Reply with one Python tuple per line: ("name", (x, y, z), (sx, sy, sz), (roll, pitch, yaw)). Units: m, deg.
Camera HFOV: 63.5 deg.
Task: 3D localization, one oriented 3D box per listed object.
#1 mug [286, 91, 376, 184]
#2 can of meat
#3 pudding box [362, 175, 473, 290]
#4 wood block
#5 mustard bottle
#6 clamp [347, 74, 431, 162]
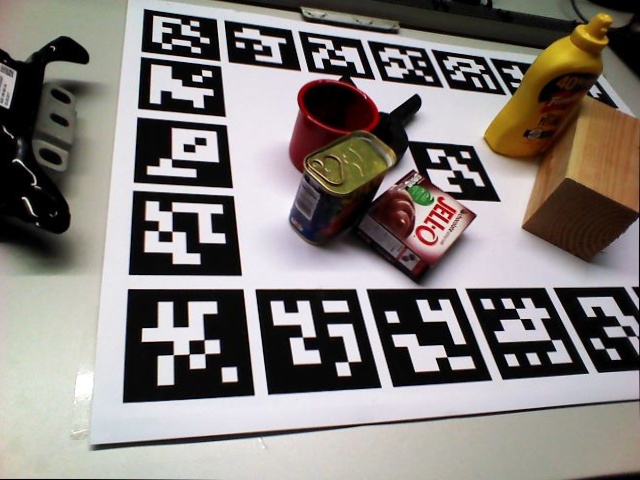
("mug", (0.010, -0.119, 0.607), (0.093, 0.082, 0.116), (20, 52, -3))
("can of meat", (0.022, -0.048, 0.521), (0.101, 0.084, 0.058), (-28, 68, -33))
("pudding box", (0.112, -0.012, 0.559), (0.090, 0.039, 0.113), (41, 51, 14))
("wood block", (0.348, -0.072, 0.651), (0.090, 0.091, 0.204), (30, 49, 8))
("mustard bottle", (0.307, -0.189, 0.654), (0.096, 0.193, 0.058), (-3, 56, -19))
("clamp", (0.082, -0.146, 0.657), (0.122, 0.037, 0.164), (18, 53, -6))
